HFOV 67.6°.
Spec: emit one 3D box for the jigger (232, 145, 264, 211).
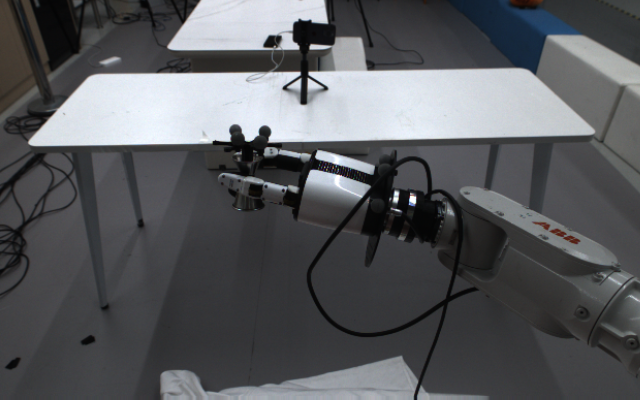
[{"bbox_3d":[-0.095,-0.025,0.645,0.043,0.071,0.043,2,20,-1],"label":"jigger"}]
